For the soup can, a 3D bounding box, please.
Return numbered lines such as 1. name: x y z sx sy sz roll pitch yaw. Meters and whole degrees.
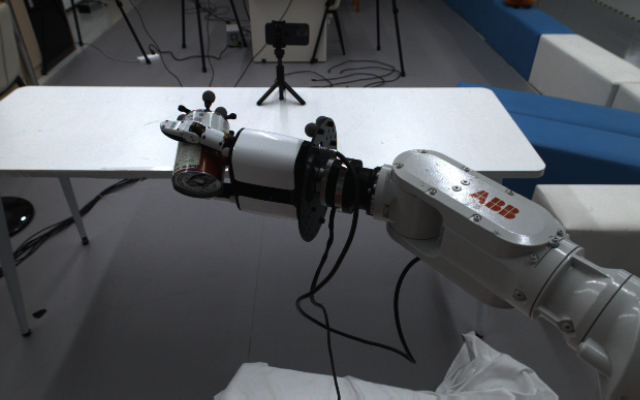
1. soup can: -0.159 -0.062 0.653 0.067 0.067 0.101 1 61 -2
